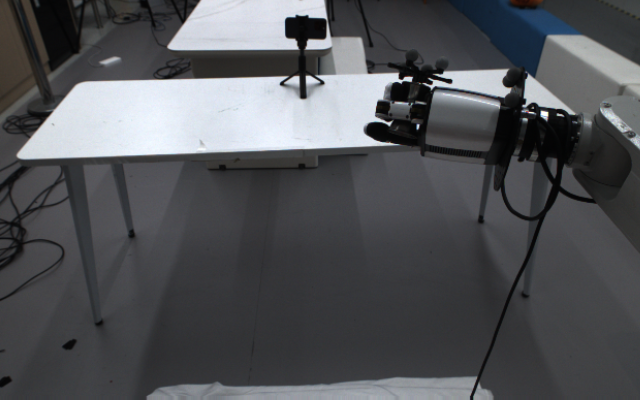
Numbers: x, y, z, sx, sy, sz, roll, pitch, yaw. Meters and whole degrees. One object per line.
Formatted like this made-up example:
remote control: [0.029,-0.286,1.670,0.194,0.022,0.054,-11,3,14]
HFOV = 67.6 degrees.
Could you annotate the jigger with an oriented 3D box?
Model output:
jigger: [0.121,-0.122,0.652,0.043,0.071,0.043,17,2,-1]
